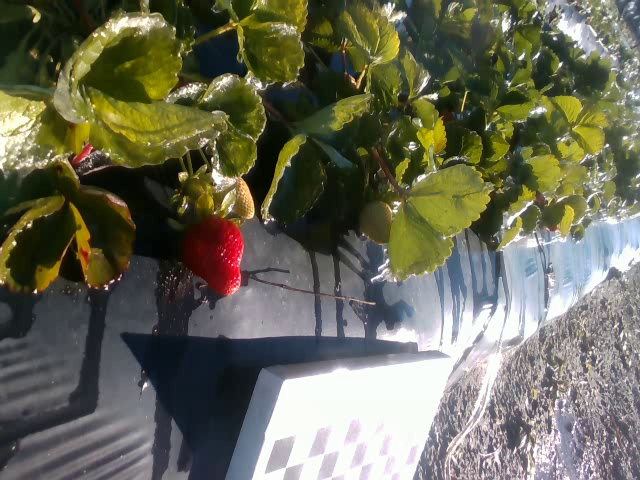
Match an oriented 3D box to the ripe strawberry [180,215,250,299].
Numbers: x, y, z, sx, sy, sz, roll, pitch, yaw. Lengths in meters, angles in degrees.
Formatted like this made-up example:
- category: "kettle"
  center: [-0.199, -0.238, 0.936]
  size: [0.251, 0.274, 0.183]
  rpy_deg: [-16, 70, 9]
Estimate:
- category: "ripe strawberry"
  center: [-0.044, 0.011, 0.267]
  size: [0.039, 0.040, 0.039]
  rpy_deg: [1, 43, -43]
